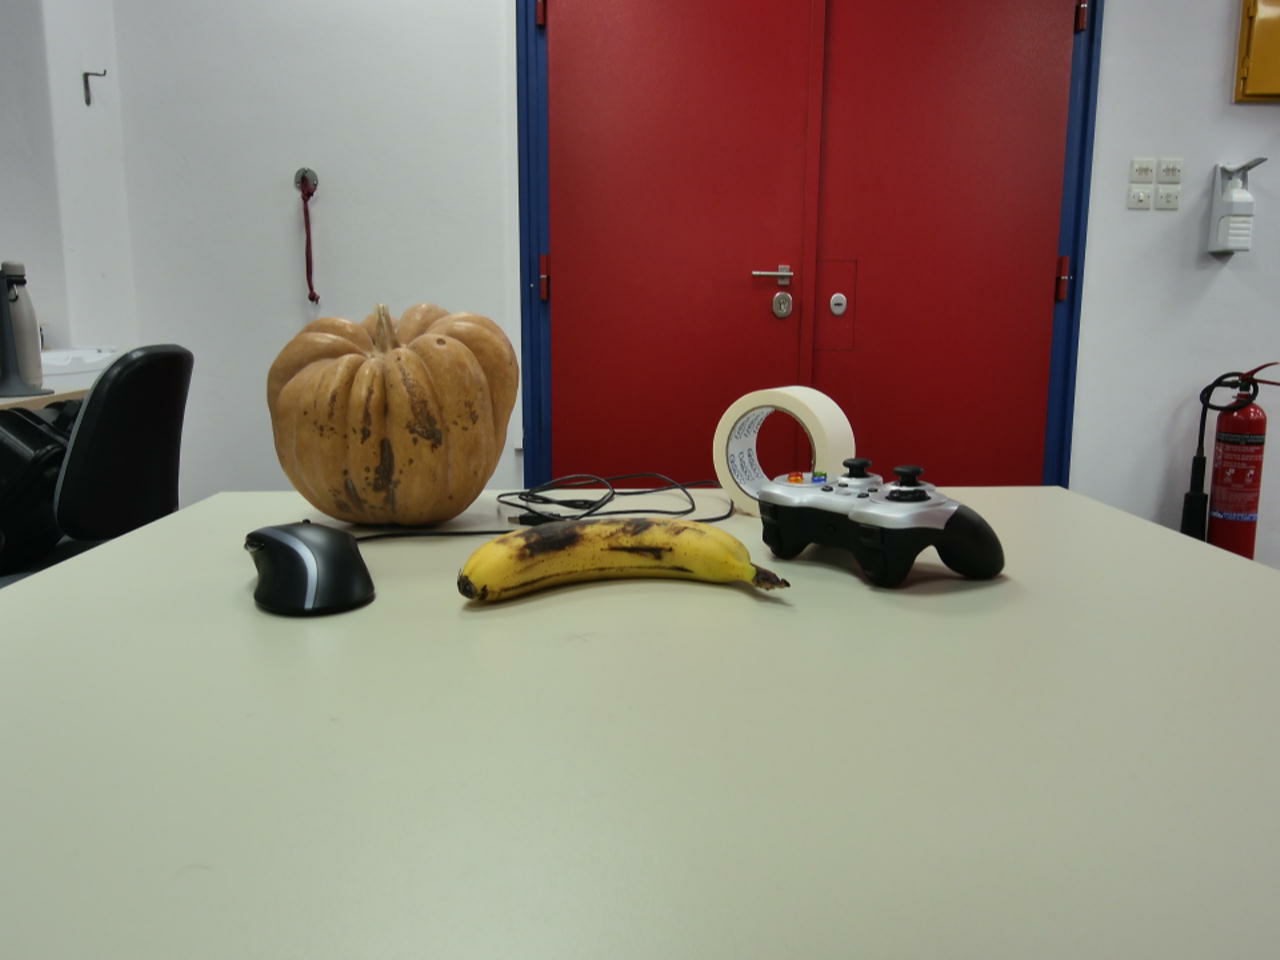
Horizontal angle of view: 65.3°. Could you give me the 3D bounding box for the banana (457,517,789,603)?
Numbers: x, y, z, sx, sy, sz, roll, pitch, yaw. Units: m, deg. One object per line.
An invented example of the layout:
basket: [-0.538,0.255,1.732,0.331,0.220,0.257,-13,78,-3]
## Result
banana: [-0.012,0.048,0.603,0.187,0.039,0.094,-1,7,-3]
